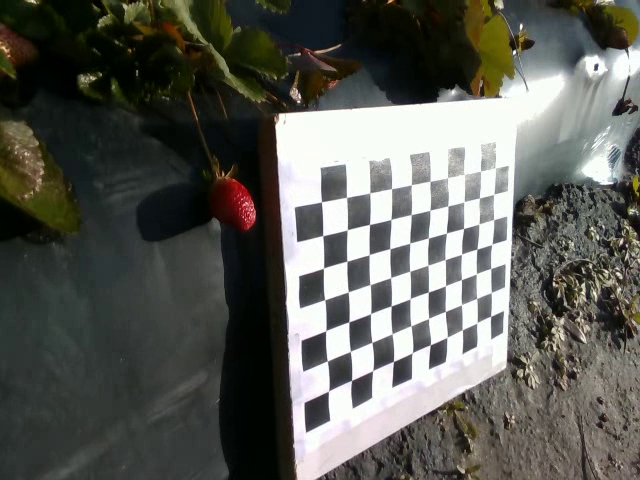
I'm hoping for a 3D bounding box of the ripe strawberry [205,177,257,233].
[{"bbox_3d":[-0.047,-0.016,0.343,0.035,0.038,0.033,-15,-33,-39],"label":"ripe strawberry"}]
